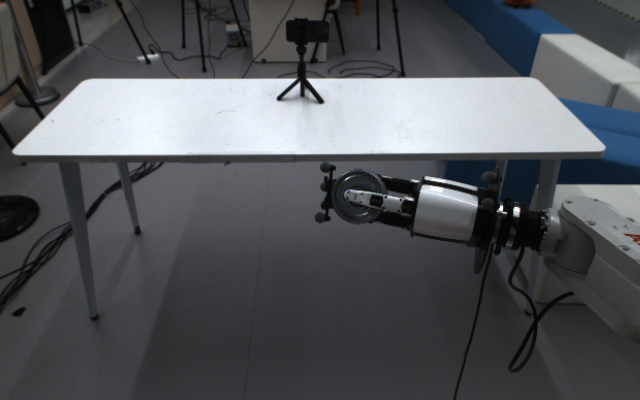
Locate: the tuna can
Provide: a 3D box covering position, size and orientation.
[{"bbox_3d":[0.064,-0.003,0.746,0.085,0.085,0.034,10,2,11],"label":"tuna can"}]
